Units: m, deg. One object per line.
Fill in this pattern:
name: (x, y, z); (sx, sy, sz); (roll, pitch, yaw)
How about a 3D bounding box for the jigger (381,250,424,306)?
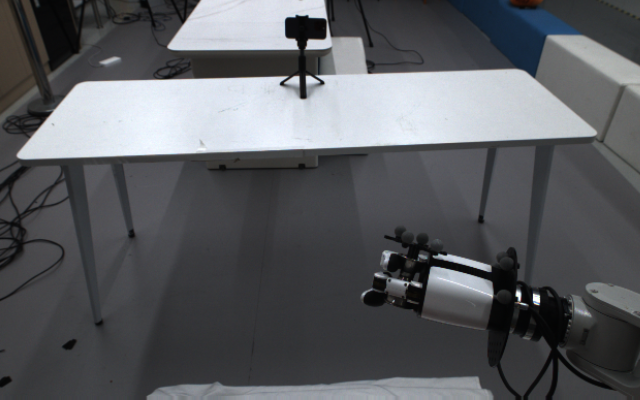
jigger: (0.119, 0.111, 0.669); (0.043, 0.071, 0.043); (17, 2, -1)
